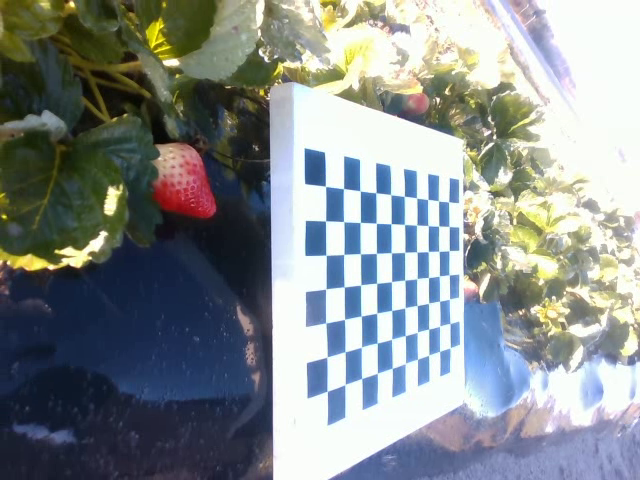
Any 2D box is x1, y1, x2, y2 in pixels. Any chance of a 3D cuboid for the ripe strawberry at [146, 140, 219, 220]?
[{"bbox_3d":[-0.084,-0.031,0.385,0.040,0.040,0.065,-4,-43,34],"label":"ripe strawberry"}]
